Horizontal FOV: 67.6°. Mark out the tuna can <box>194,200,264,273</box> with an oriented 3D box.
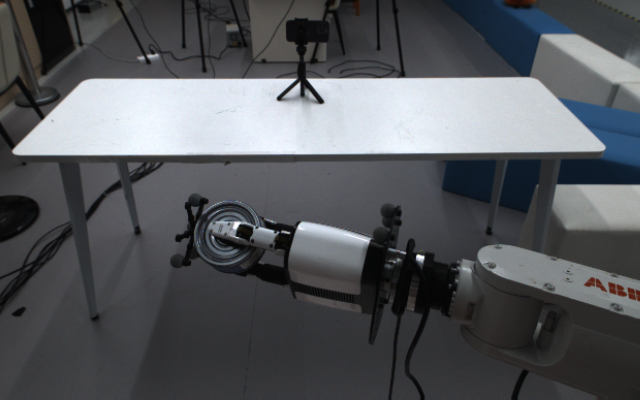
[{"bbox_3d":[-0.106,0.044,0.589,0.085,0.034,0.085,-2,69,6],"label":"tuna can"}]
